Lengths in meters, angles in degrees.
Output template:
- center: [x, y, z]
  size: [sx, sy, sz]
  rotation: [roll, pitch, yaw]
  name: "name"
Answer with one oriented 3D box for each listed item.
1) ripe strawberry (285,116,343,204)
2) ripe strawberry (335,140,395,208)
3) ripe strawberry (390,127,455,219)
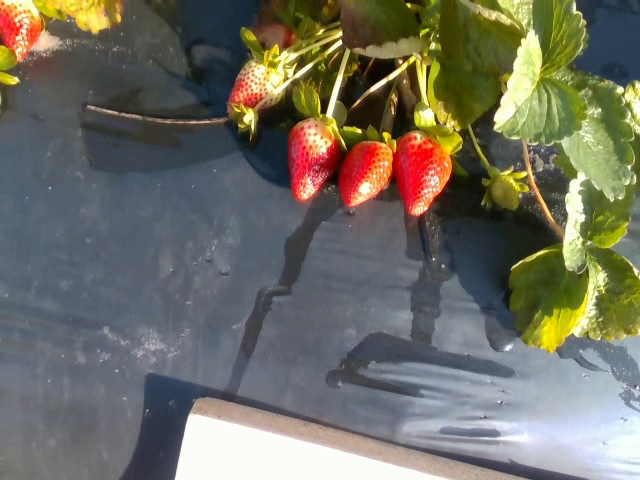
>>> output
- center: [-0.005, -0.041, 0.311]
  size: [0.032, 0.045, 0.023]
  rotation: [14, 4, 3]
  name: "ripe strawberry"
- center: [0.022, -0.033, 0.302]
  size: [0.031, 0.036, 0.039]
  rotation: [24, 44, 0]
  name: "ripe strawberry"
- center: [0.050, -0.027, 0.305]
  size: [0.035, 0.041, 0.033]
  rotation: [10, -33, 4]
  name: "ripe strawberry"
